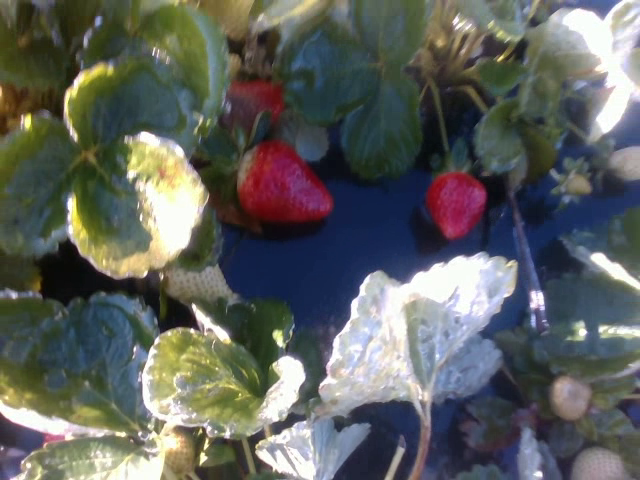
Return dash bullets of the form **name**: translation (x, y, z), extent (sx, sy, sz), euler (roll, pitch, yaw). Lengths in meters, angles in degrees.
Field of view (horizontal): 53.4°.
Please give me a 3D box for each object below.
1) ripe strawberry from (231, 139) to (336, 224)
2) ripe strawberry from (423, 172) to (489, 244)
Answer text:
- **ripe strawberry**: translation (-0.014, -0.028, 0.325), extent (0.056, 0.044, 0.040), euler (31, -14, -17)
- **ripe strawberry**: translation (0.077, -0.018, 0.346), extent (0.039, 0.047, 0.040), euler (20, -22, -19)
